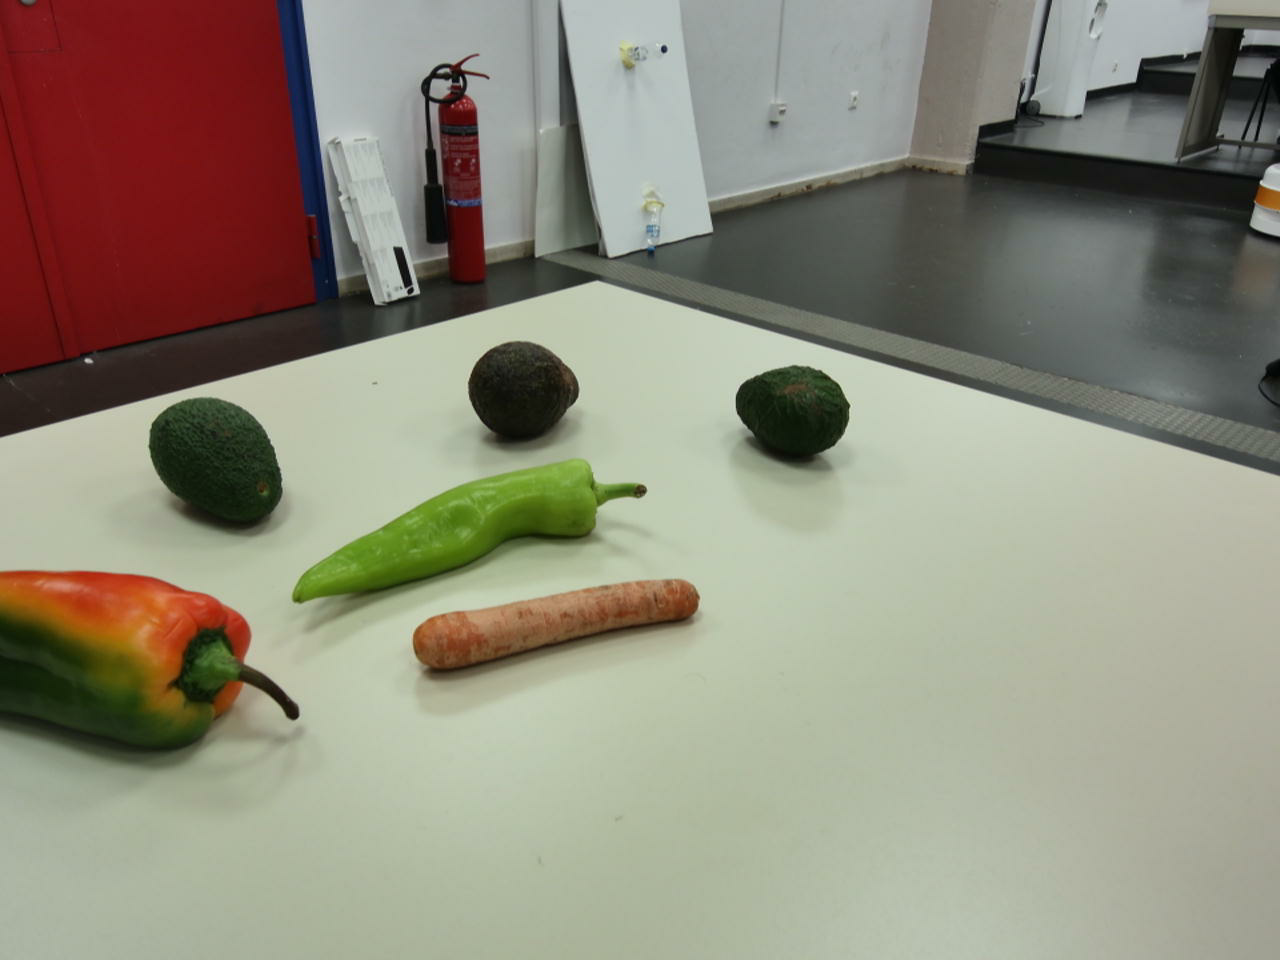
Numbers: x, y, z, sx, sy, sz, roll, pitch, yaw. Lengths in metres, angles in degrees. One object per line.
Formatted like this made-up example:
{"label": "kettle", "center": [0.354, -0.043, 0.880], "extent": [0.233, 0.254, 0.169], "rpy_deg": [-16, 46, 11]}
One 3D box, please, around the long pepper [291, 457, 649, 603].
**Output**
{"label": "long pepper", "center": [-0.098, 0.026, 0.565], "extent": [0.204, 0.045, 0.065], "rpy_deg": [-15, 29, -29]}
